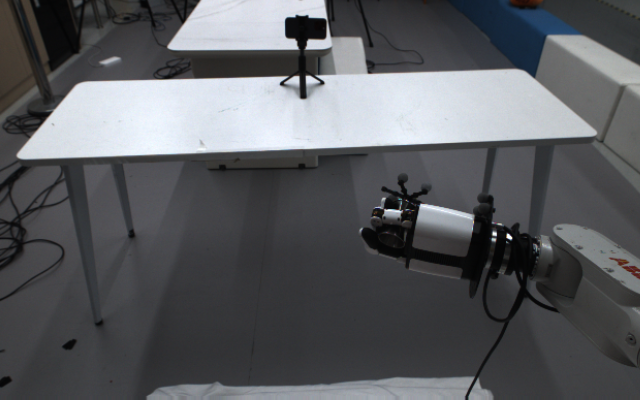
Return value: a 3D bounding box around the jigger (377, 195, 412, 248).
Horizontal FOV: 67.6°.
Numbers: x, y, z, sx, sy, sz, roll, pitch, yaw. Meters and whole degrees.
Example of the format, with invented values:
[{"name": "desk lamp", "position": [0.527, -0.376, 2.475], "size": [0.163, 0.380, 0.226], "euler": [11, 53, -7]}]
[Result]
[{"name": "jigger", "position": [0.124, 0.033, 0.768], "size": [0.043, 0.043, 0.071], "euler": [15, 58, 18]}]
